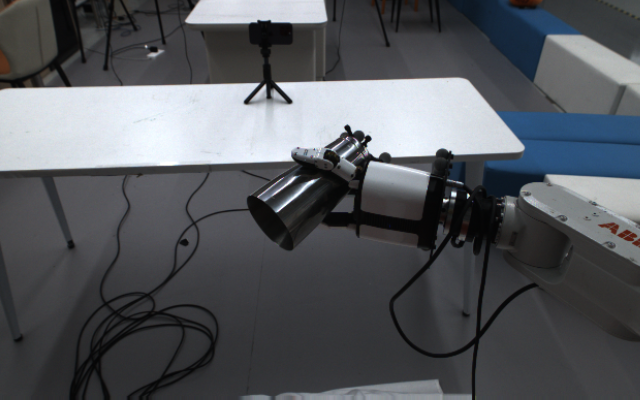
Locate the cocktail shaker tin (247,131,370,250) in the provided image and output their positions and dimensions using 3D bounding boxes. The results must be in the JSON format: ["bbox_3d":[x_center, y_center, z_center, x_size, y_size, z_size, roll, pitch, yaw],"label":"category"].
[{"bbox_3d":[-0.007,-0.023,0.673,0.170,0.093,0.093,-38,50,-24],"label":"cocktail shaker tin"}]
